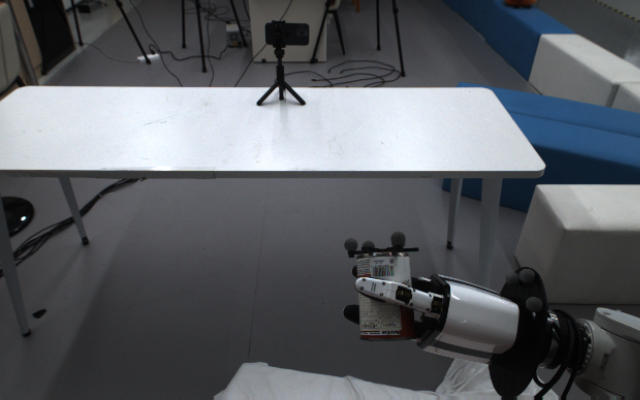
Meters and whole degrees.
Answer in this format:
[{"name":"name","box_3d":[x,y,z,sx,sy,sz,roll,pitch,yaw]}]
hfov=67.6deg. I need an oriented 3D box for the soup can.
[{"name":"soup can","box_3d":[0.081,0.116,0.592,0.067,0.067,0.101,0,75,-3]}]
